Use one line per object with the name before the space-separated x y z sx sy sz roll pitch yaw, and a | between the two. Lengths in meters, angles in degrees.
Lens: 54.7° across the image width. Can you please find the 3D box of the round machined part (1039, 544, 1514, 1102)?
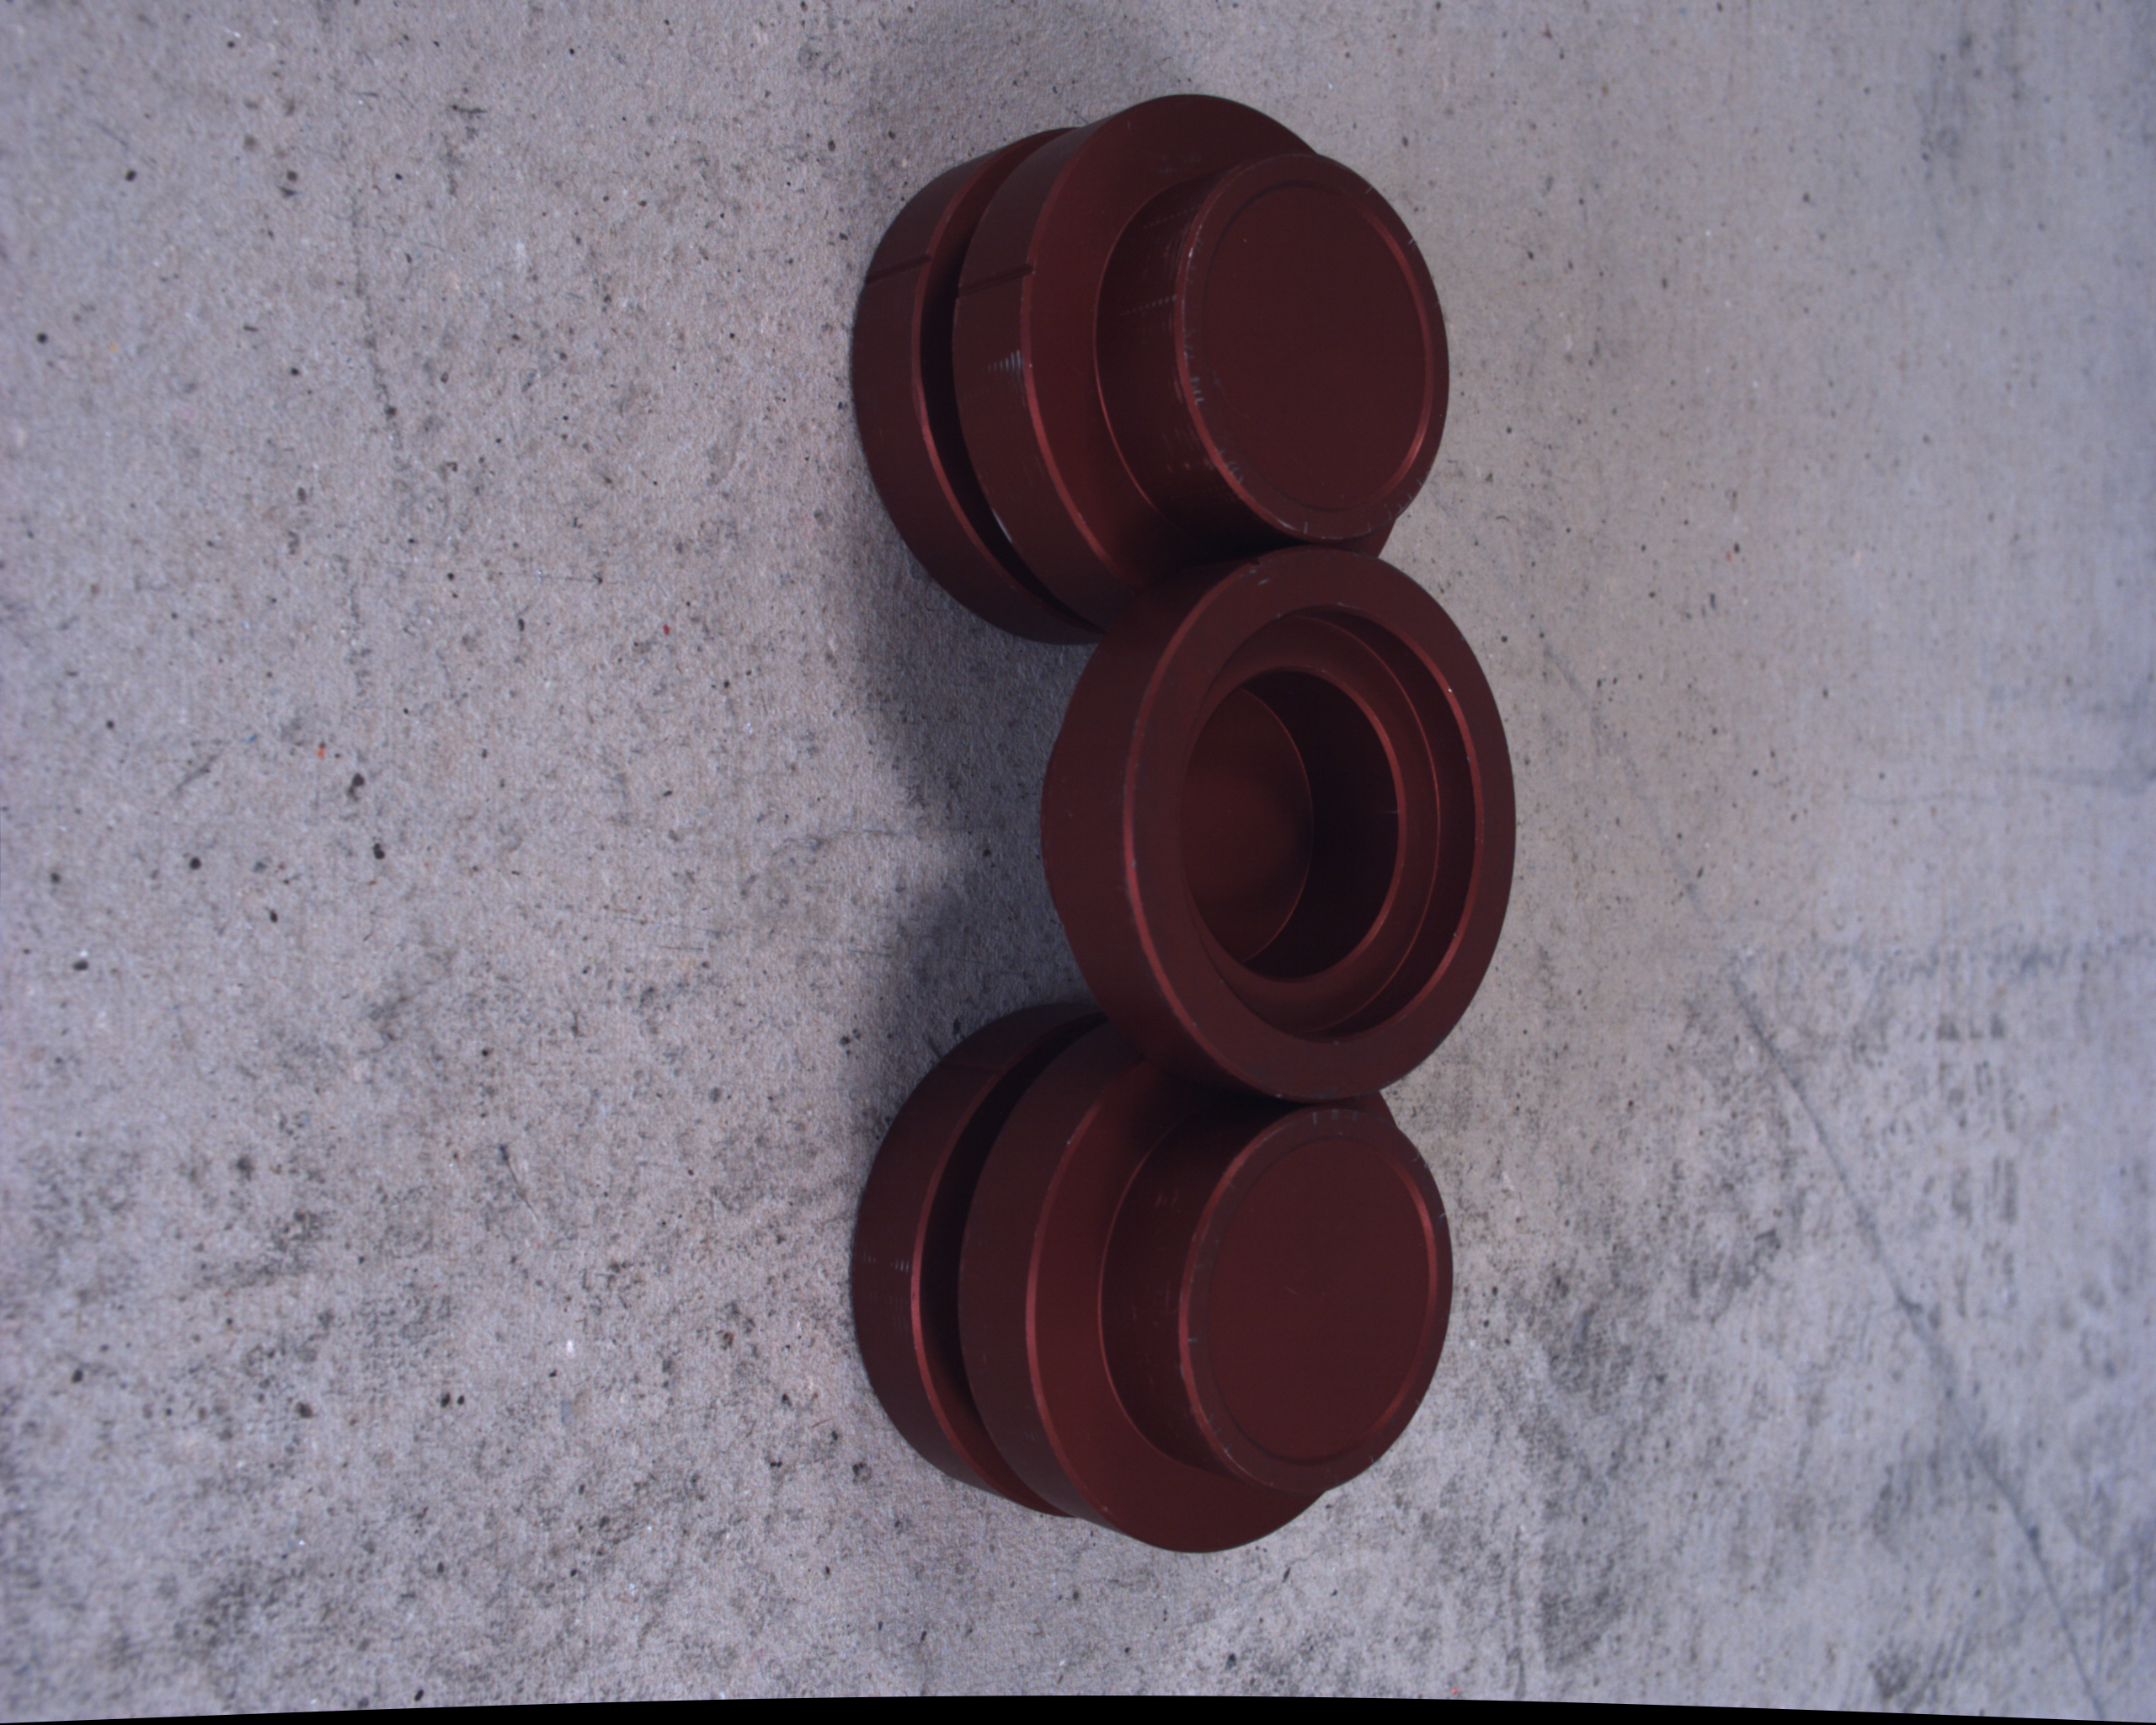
round machined part | 0.032 -0.007 0.380 0.099 0.042 0.097 0 90 -40

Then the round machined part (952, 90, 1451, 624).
round machined part | 0.029 -0.090 0.377 0.099 0.042 0.097 -1 91 -39

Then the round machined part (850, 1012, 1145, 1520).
round machined part | 0.008 0.078 0.404 0.099 0.042 0.097 1 88 -39

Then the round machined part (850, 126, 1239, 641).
round machined part | 0.009 -0.092 0.402 0.099 0.042 0.097 -1 91 -38

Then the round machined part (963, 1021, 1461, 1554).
round machined part | 0.031 0.076 0.377 0.099 0.042 0.097 -1 91 -39
